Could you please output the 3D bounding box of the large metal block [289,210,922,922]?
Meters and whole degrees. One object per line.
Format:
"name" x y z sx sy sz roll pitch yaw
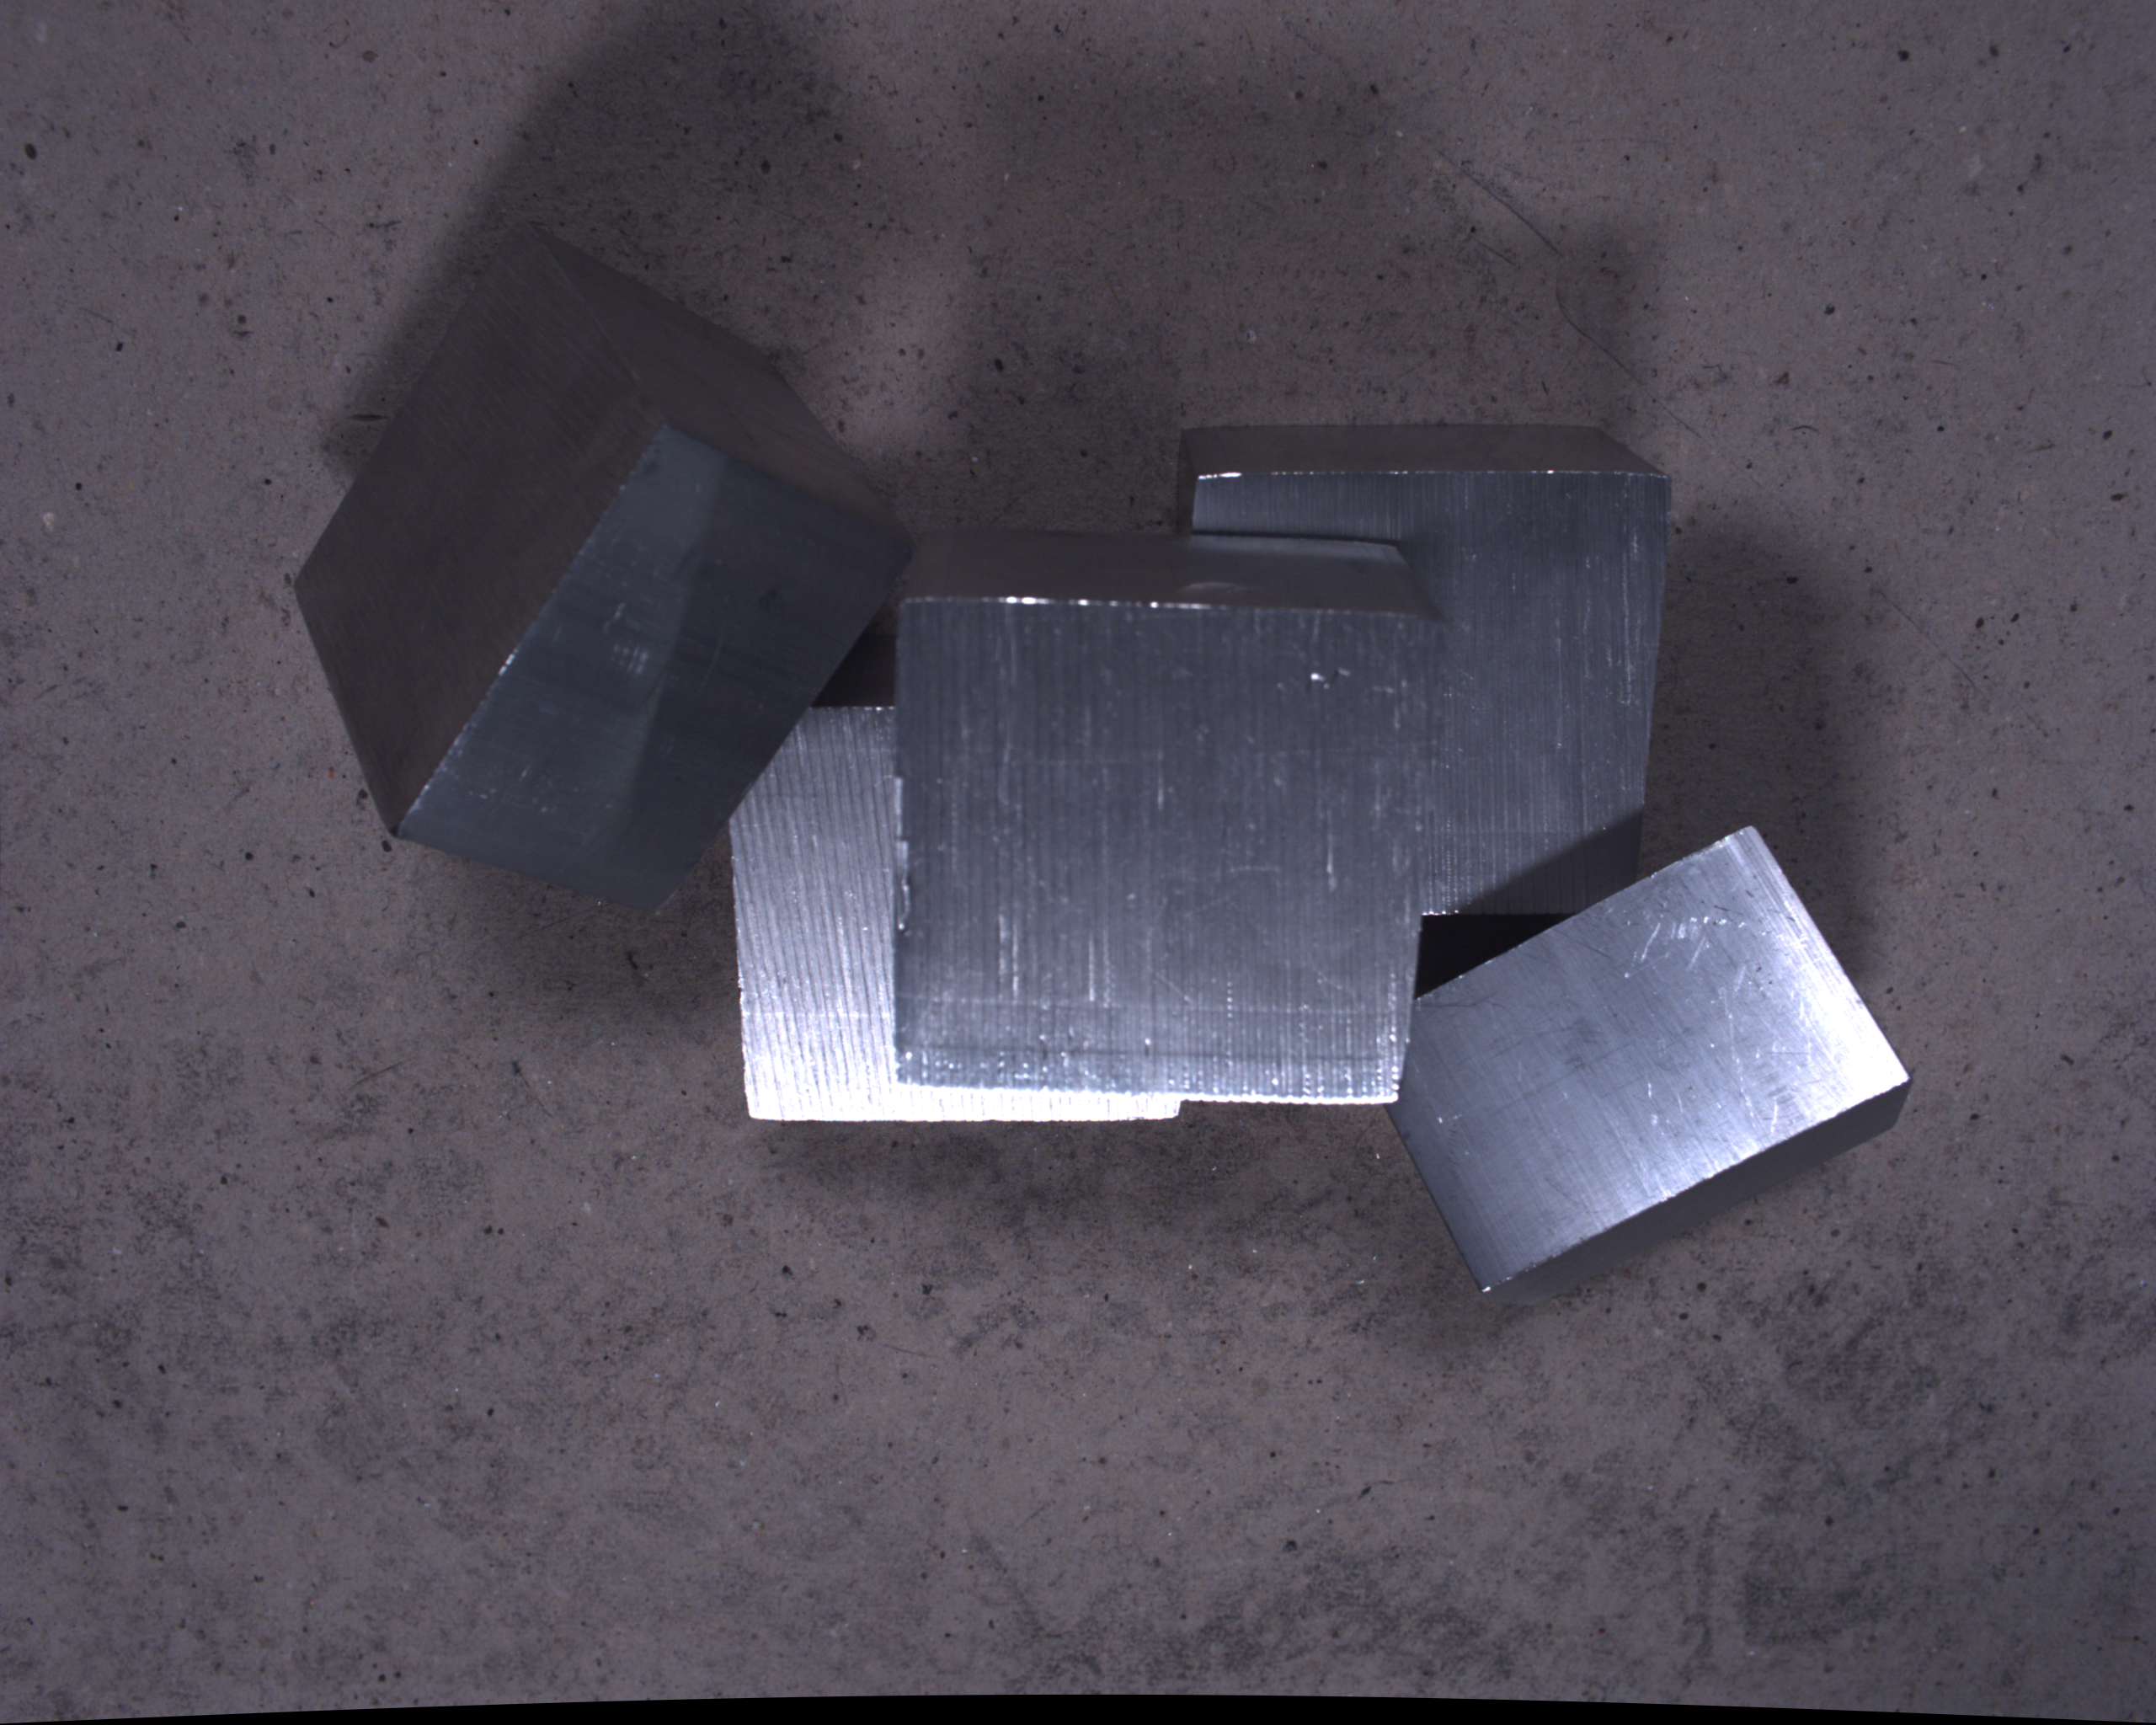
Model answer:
"large metal block" -0.084 -0.050 0.355 0.050 0.080 0.080 22 112 -43

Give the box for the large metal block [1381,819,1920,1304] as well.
"large metal block" 0.105 0.042 0.392 0.080 0.080 0.050 -29 70 10

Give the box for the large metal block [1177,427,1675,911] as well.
"large metal block" 0.059 -0.037 0.385 0.081 0.050 0.079 0 110 -1

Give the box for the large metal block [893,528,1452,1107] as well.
"large metal block" 0.012 -0.008 0.339 0.081 0.050 0.079 2 110 -1

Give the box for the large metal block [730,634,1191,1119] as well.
"large metal block" -0.021 0.002 0.396 0.081 0.050 0.079 0 110 -1
